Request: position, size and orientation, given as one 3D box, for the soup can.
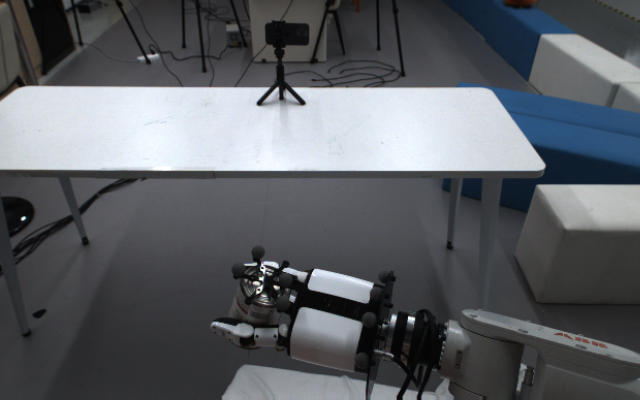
[{"bbox_3d":[-0.081,0.143,0.641,0.067,0.101,0.067,14,40,-12],"label":"soup can"}]
